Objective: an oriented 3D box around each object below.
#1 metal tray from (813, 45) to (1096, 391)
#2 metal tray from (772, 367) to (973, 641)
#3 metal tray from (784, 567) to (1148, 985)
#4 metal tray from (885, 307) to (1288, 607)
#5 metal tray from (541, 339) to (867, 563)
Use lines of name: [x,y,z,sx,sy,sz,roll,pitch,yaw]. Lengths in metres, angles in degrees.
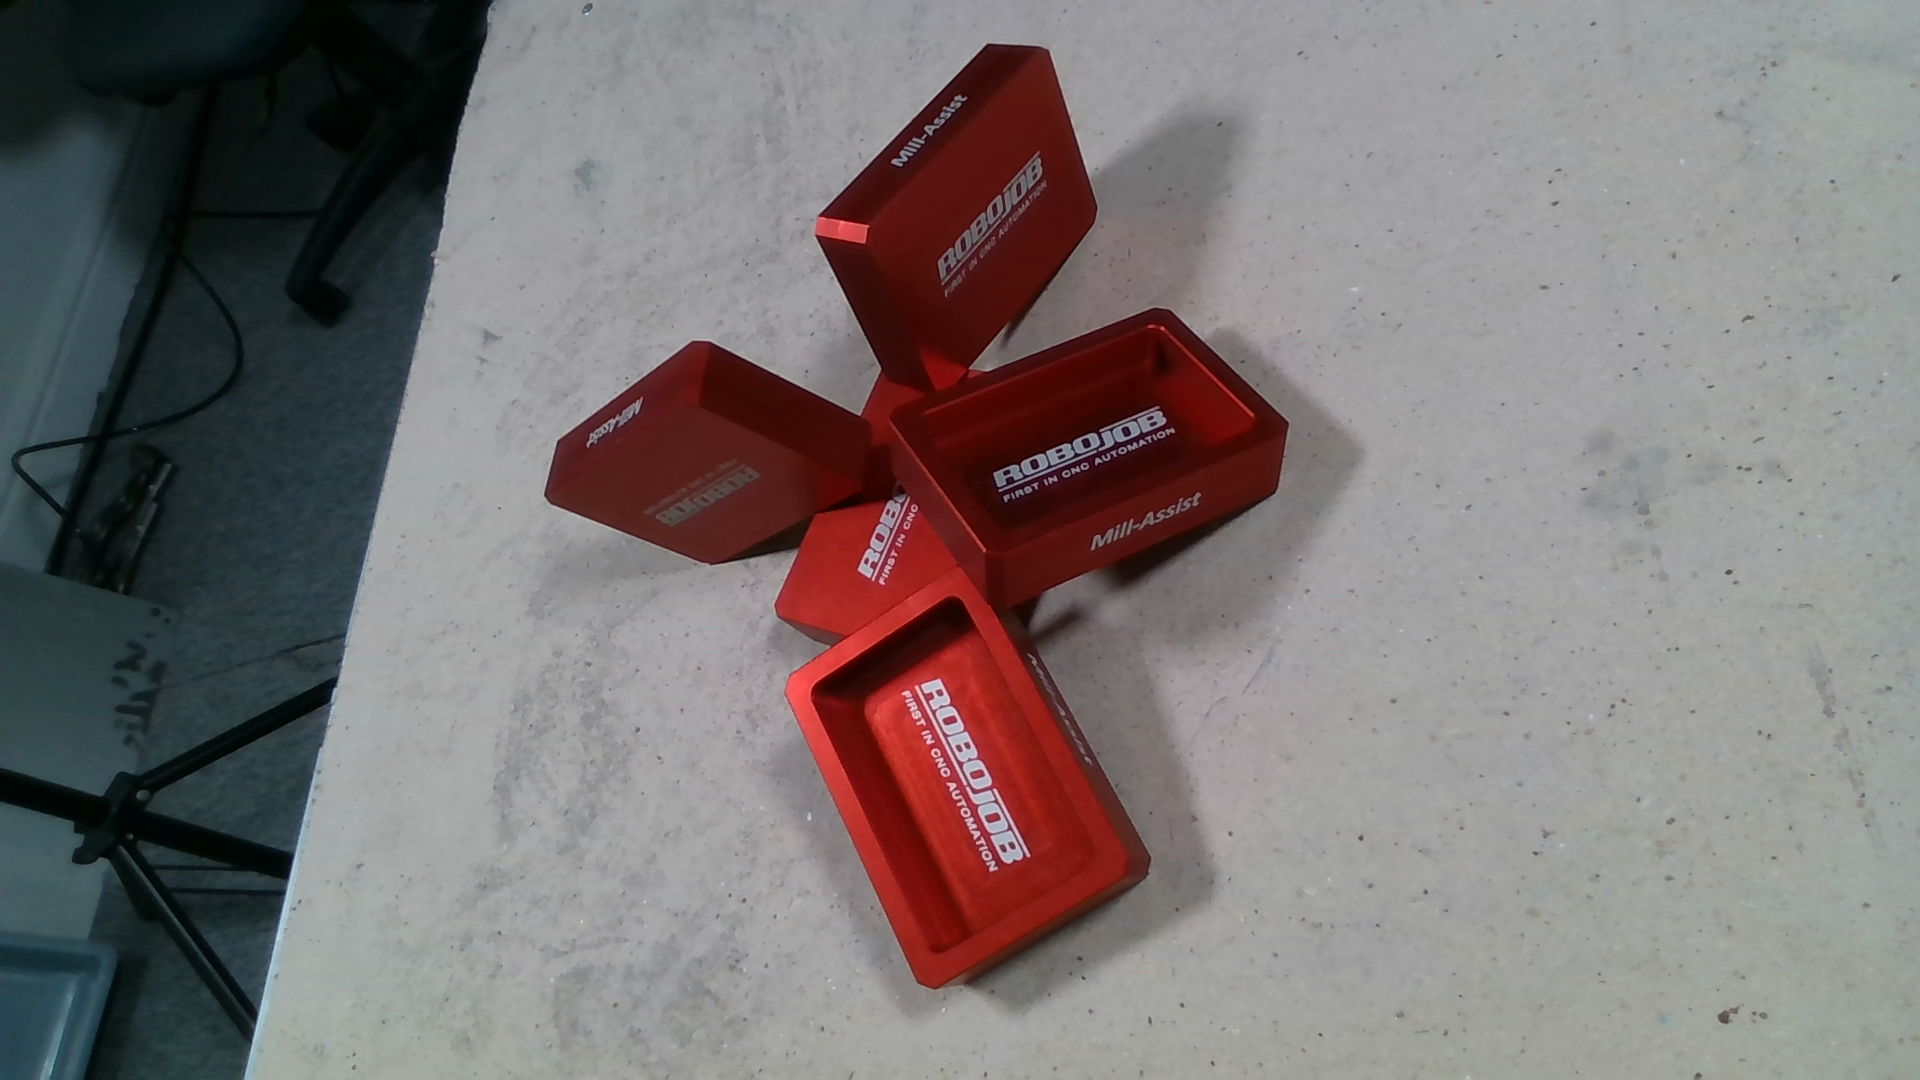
metal tray: [0.002,-0.139,0.597,0.030,0.090,0.130,20,60,37]
metal tray: [-0.017,-0.012,0.599,0.090,0.030,0.130,13,73,36]
metal tray: [0.000,0.086,0.516,0.090,0.030,0.130,-33,67,12]
metal tray: [0.048,-0.036,0.534,0.130,0.030,0.090,-23,50,-16]
metal tray: [-0.114,-0.034,0.607,0.130,0.090,0.030,-23,52,45]
